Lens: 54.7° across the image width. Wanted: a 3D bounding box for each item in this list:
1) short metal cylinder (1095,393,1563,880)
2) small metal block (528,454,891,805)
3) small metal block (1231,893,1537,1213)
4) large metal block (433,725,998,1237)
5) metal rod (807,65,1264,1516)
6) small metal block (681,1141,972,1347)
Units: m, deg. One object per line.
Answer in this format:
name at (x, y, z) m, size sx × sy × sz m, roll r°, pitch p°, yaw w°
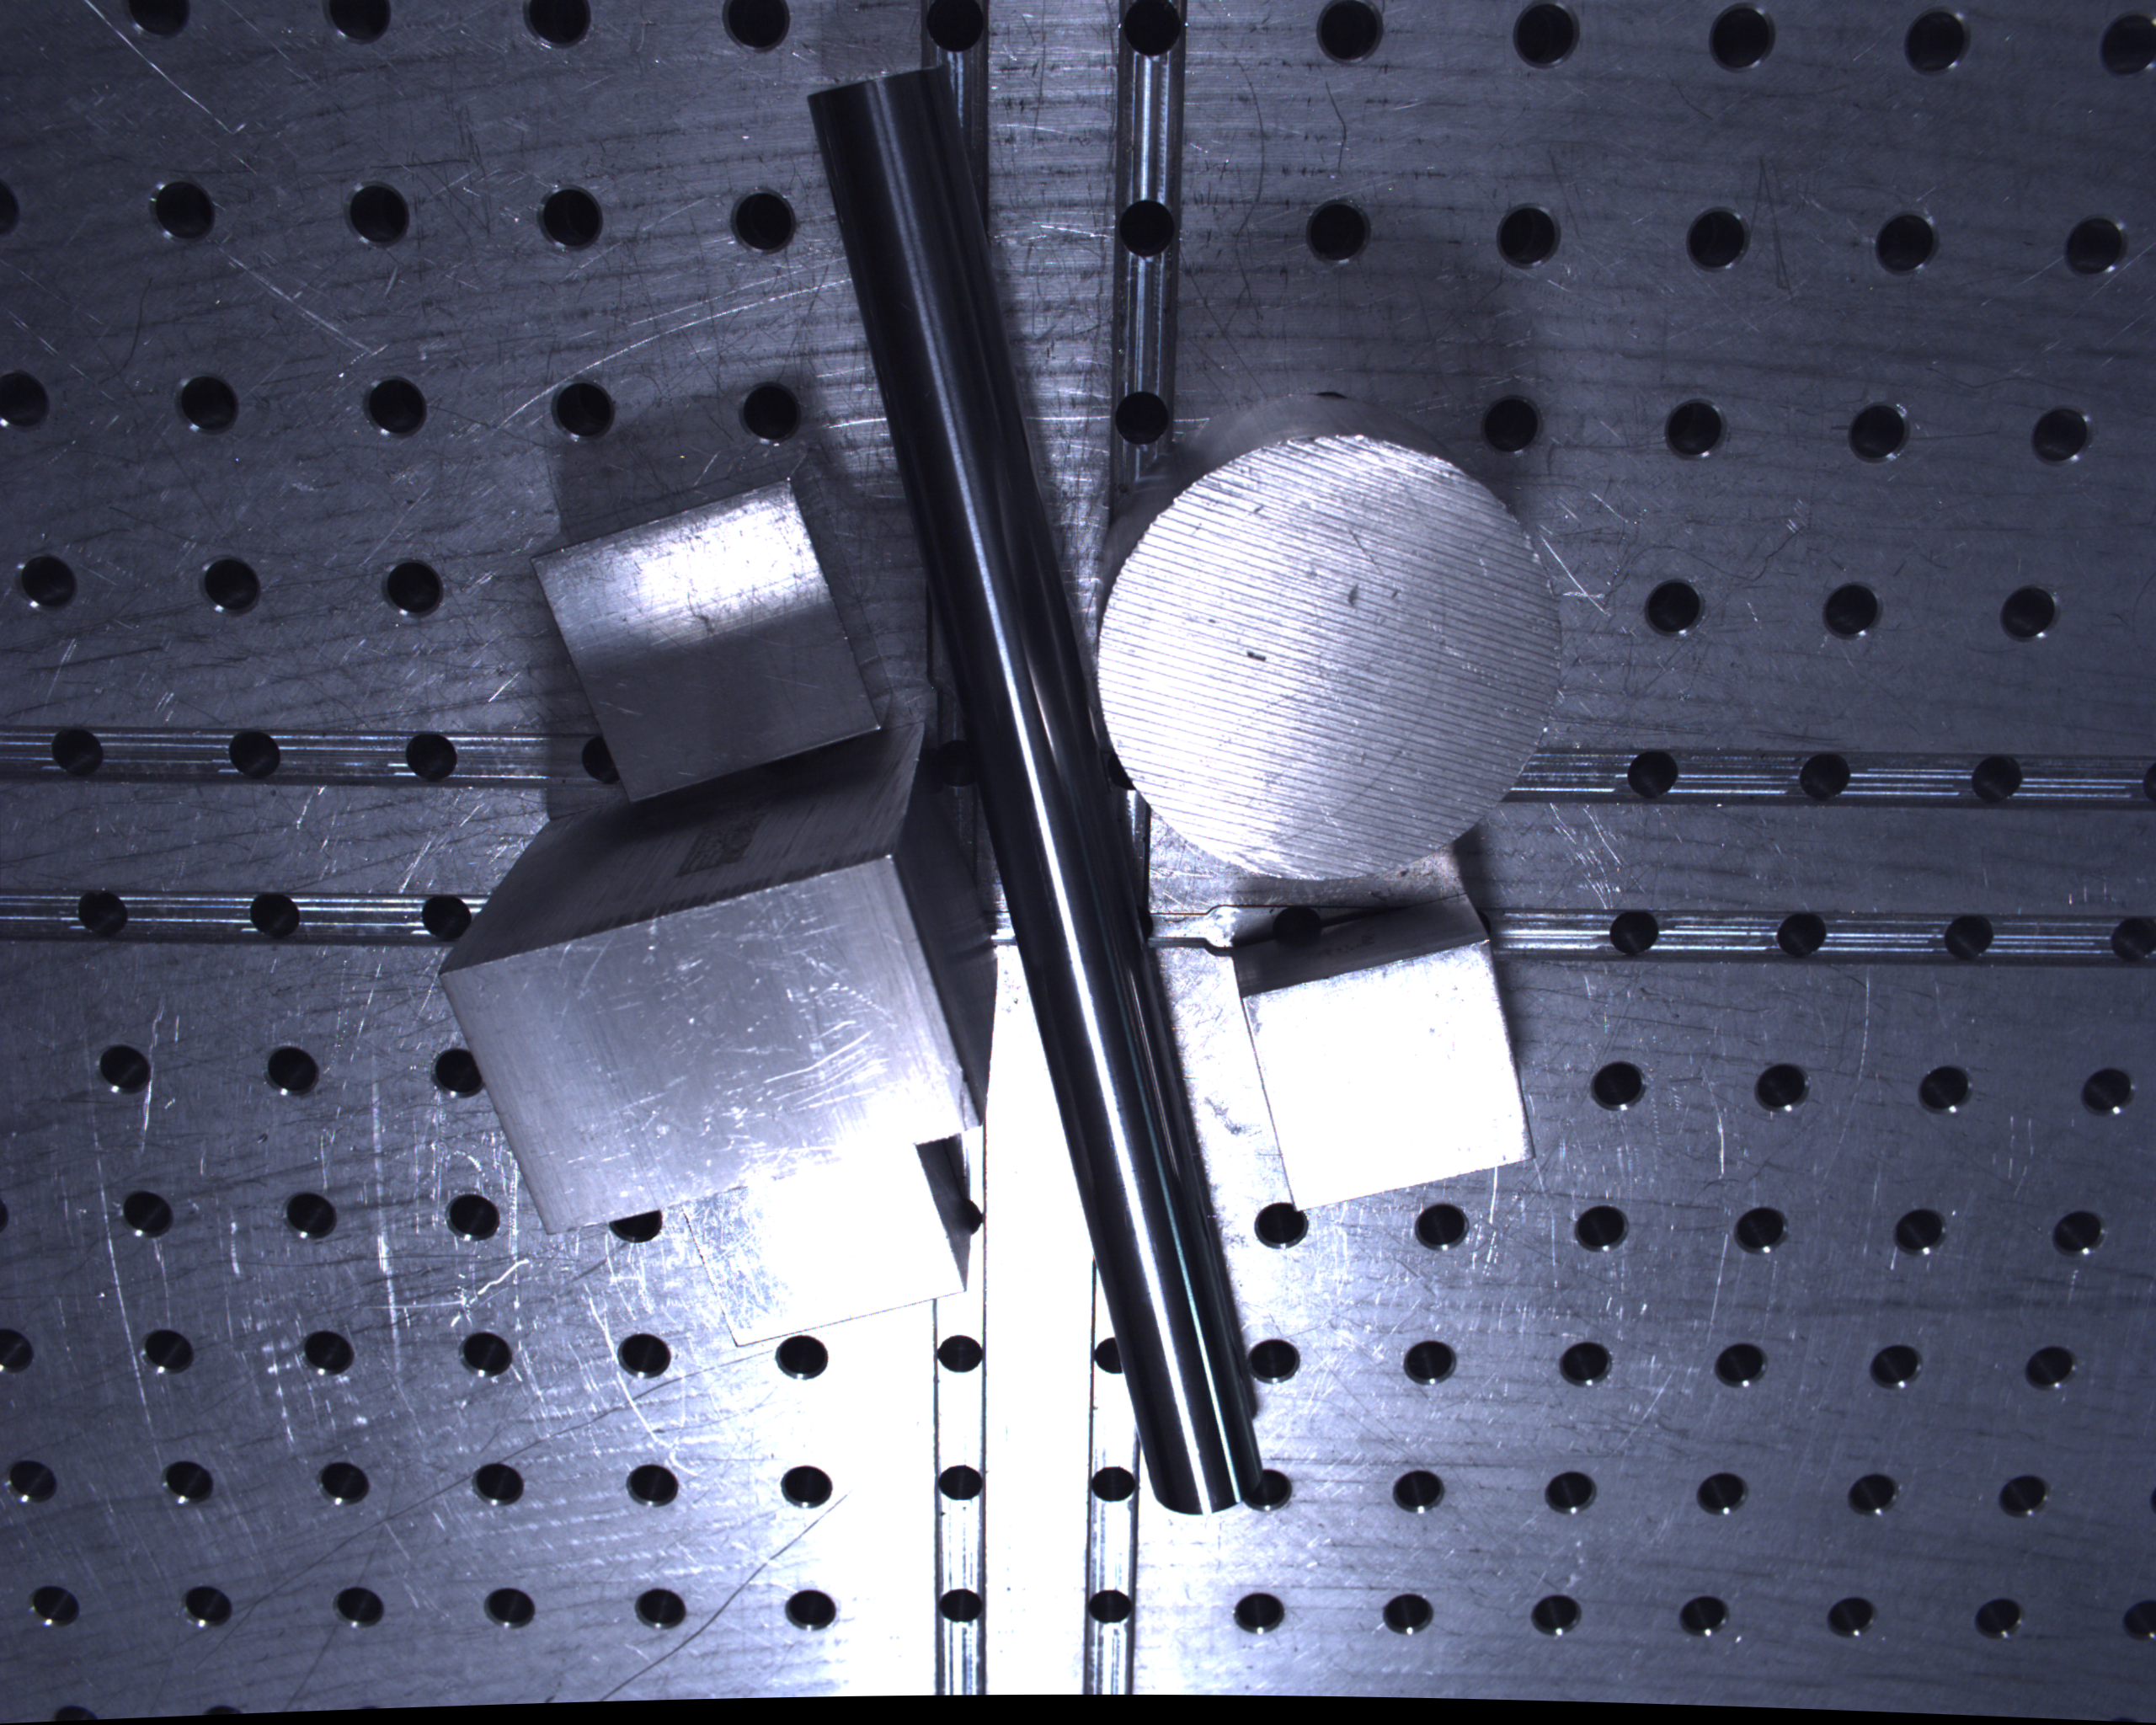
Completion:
short metal cylinder at (0.044, -0.043, 0.384) m, size 0.081 × 0.050 × 0.079 m, roll 0°, pitch 110°, yaw -1°
small metal block at (-0.068, -0.044, 0.396) m, size 0.050 × 0.025 × 0.050 m, roll -16°, pitch 110°, yaw 5°
small metal block at (0.063, 0.039, 0.428) m, size 0.050 × 0.025 × 0.050 m, roll -14°, pitch 110°, yaw 4°
large metal block at (-0.062, 0.019, 0.389) m, size 0.080 × 0.080 × 0.050 m, roll -14°, pitch 110°, yaw 5°
metal rod at (-0.003, 0.001, 0.413) m, size 0.025 × 0.025 × 0.298 m, roll -12°, pitch 110°, yaw 4°
small metal block at (-0.054, 0.068, 0.438) m, size 0.050 × 0.025 × 0.050 m, roll -15°, pitch 110°, yaw 5°
